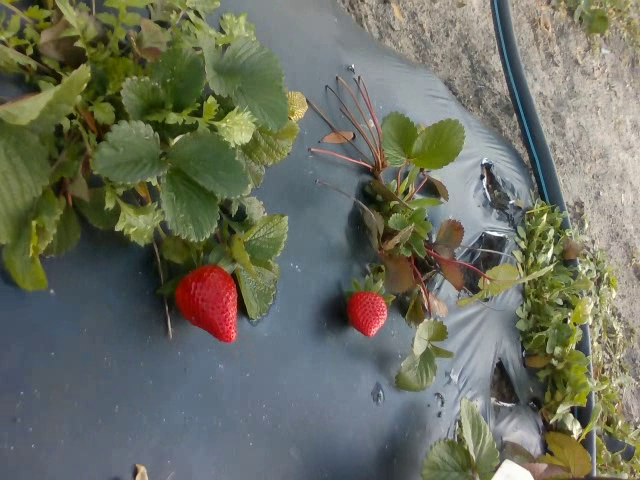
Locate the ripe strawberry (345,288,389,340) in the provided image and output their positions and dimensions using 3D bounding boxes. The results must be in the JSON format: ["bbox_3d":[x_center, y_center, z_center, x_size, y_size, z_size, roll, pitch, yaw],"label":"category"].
[{"bbox_3d":[0.037,0.064,0.471,0.041,0.045,0.052,1,33,3],"label":"ripe strawberry"}]

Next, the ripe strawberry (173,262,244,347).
[{"bbox_3d":[-0.064,0.042,0.352,0.046,0.051,0.050,-32,46,-7],"label":"ripe strawberry"}]
